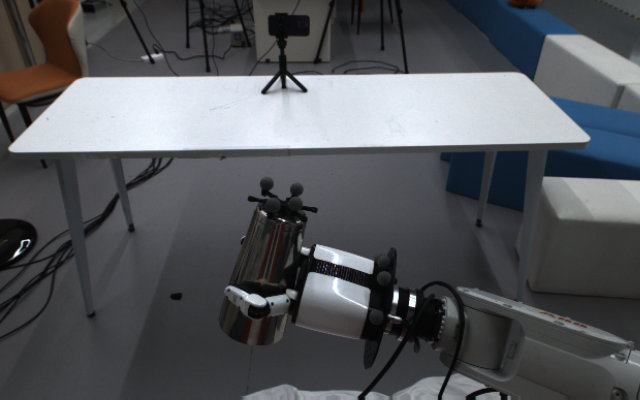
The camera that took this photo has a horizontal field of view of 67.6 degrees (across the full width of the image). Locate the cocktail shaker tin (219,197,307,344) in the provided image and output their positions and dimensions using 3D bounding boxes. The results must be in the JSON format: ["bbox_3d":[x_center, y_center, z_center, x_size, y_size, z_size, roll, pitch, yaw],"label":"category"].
[{"bbox_3d":[-0.068,0.090,0.626,0.093,0.170,0.093,15,20,-5],"label":"cocktail shaker tin"}]
